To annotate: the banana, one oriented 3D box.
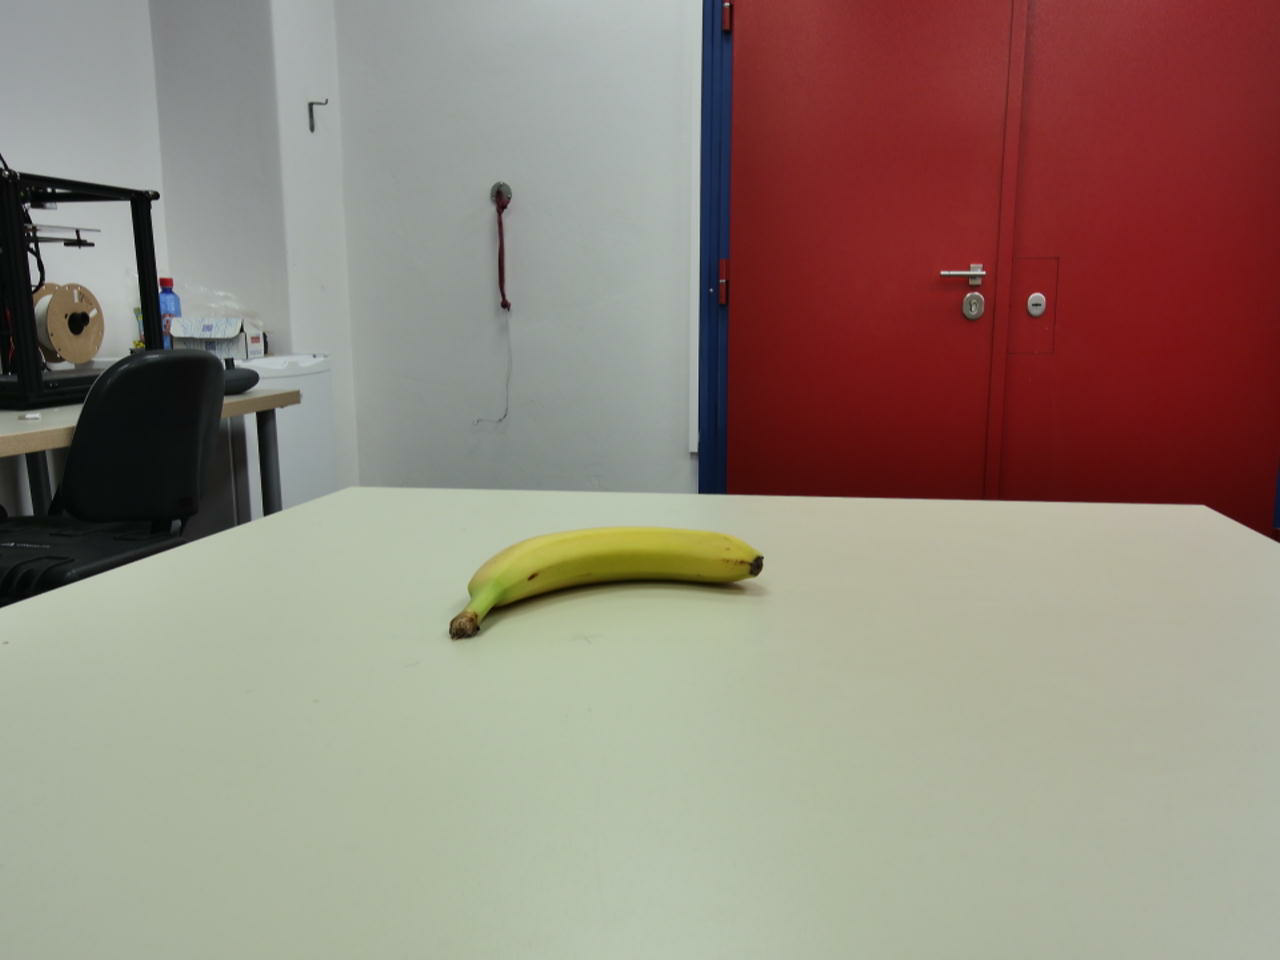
[{"bbox_3d":[-0.029,0.053,0.607,0.196,0.041,0.094,-3,8,-24],"label":"banana"}]
